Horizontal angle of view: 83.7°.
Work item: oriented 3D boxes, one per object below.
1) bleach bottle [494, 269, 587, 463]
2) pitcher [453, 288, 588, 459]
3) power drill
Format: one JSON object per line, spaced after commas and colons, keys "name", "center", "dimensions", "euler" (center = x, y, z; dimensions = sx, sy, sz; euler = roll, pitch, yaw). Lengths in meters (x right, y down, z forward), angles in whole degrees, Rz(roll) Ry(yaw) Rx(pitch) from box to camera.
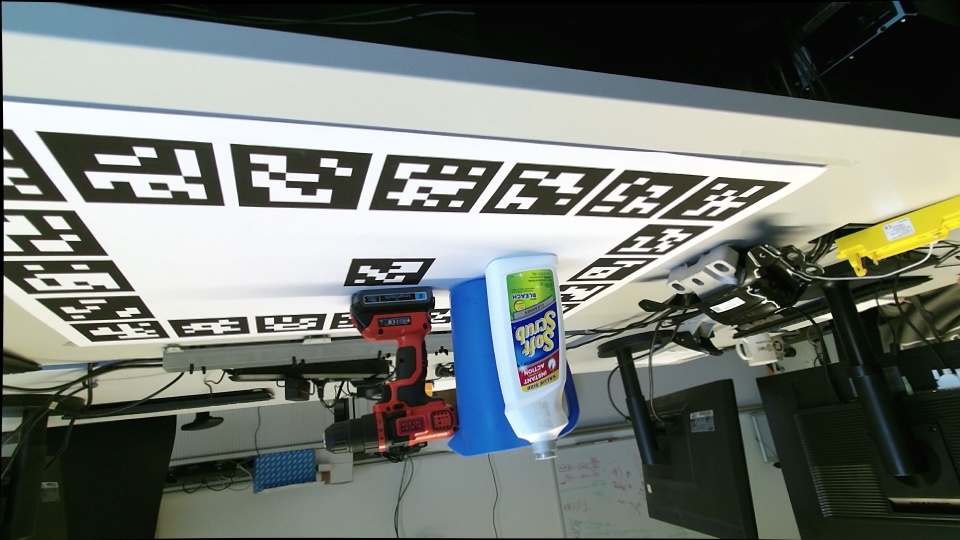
{"name": "bleach bottle", "center": [0.087, 0.126, 0.675], "dimensions": [0.103, 0.249, 0.068], "euler": [-6, 157, -14]}
{"name": "pitcher", "center": [0.042, 0.150, 0.766], "dimensions": [0.189, 0.241, 0.133], "euler": [-12, 157, 4]}
{"name": "power drill", "center": [-0.123, 0.153, 0.726], "dimensions": [0.185, 0.186, 0.057], "euler": [1, 153, -13]}
